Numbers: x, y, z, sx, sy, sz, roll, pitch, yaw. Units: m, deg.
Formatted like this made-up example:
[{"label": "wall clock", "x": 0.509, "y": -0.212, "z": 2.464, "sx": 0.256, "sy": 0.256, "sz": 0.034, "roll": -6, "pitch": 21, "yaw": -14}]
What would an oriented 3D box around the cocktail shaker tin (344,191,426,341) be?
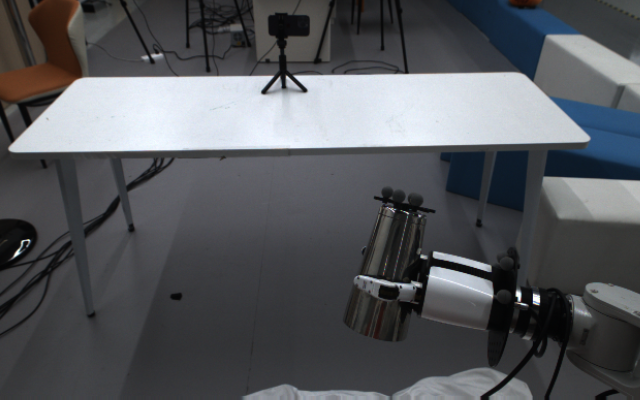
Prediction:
[{"label": "cocktail shaker tin", "x": 0.097, "y": 0.096, "z": 0.674, "sx": 0.093, "sy": 0.170, "sz": 0.093, "roll": 13, "pitch": 5, "yaw": -1}]
